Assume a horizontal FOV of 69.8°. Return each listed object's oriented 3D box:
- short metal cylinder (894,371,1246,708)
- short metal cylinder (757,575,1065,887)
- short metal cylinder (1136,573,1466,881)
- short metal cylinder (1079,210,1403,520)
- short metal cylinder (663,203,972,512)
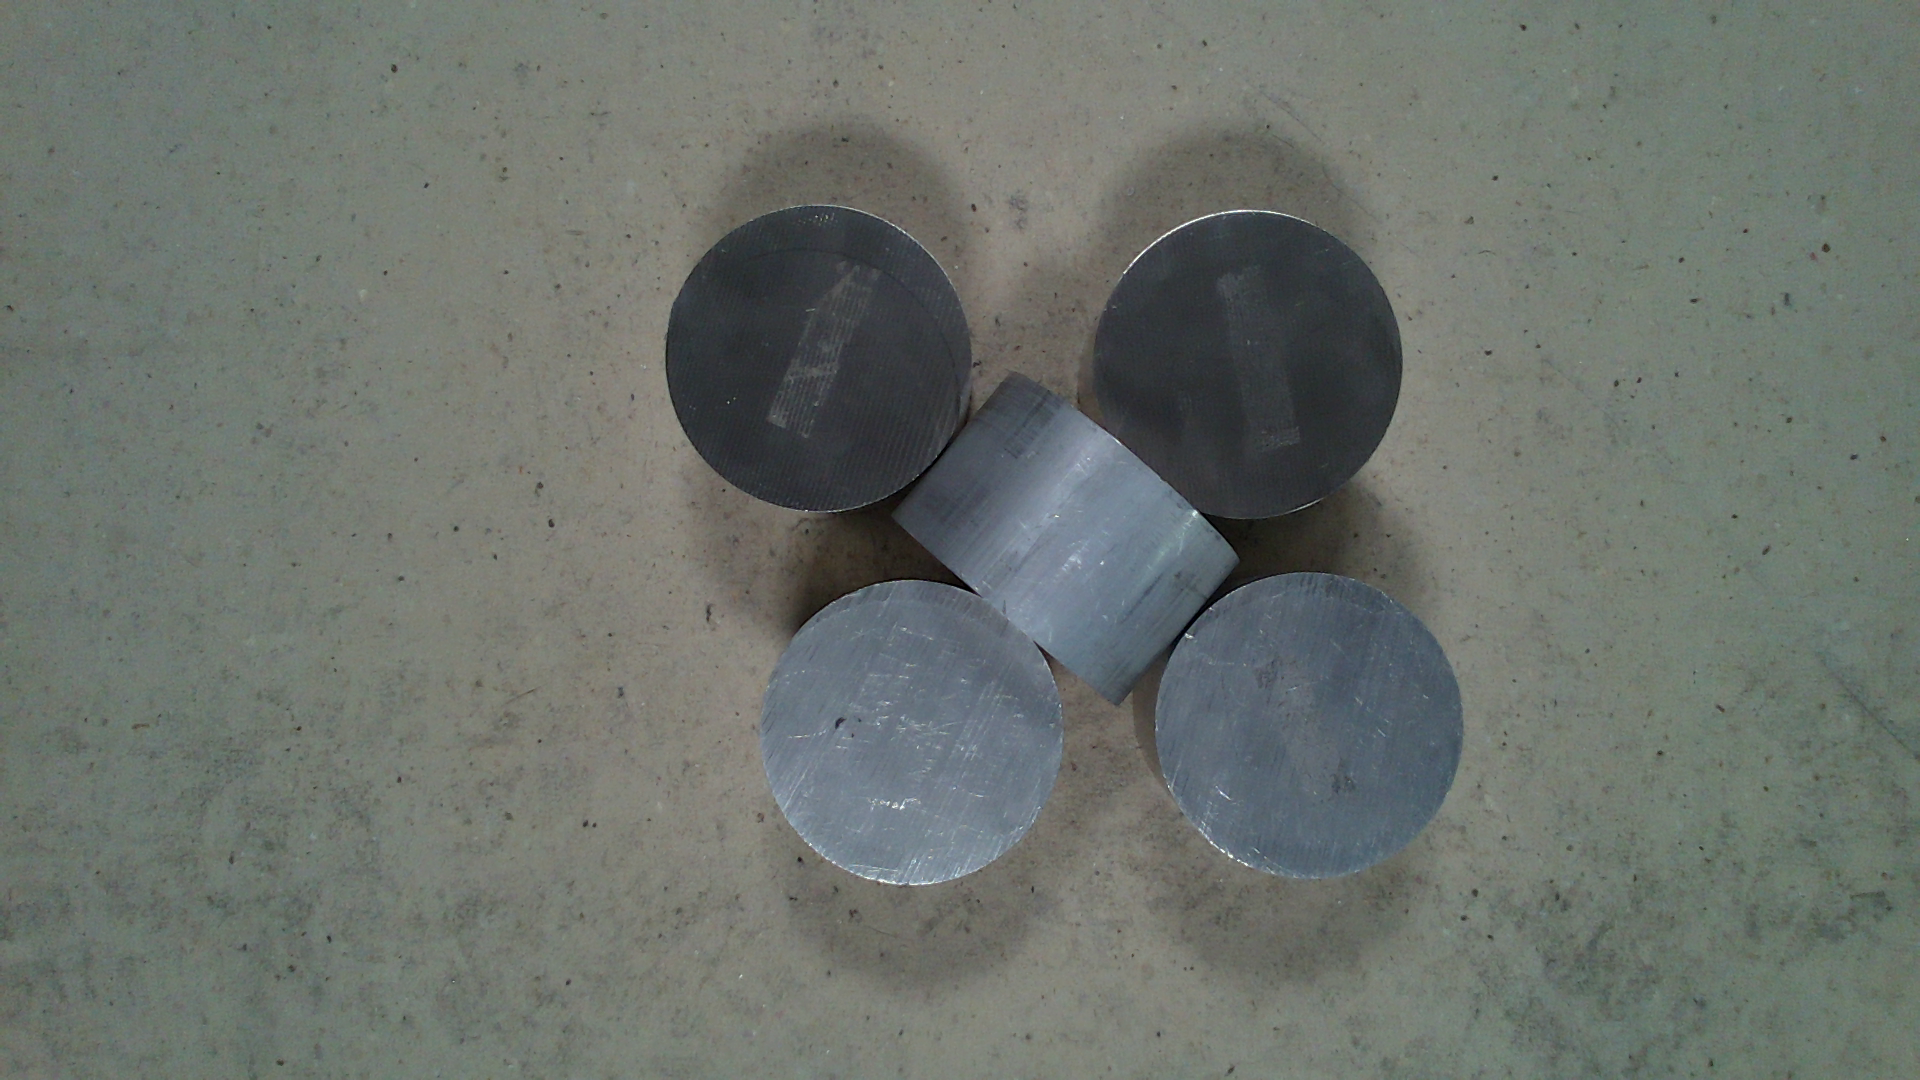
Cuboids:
[{"bbox_3d":[0.029,0.000,0.368,0.080,0.080,0.050,40,90,0],"label":"short metal cylinder"},{"bbox_3d":[-0.013,0.050,0.382,0.080,0.050,0.080,0,90,0],"label":"short metal cylinder"},{"bbox_3d":[0.092,0.049,0.382,0.080,0.050,0.080,0,90,0],"label":"short metal cylinder"},{"bbox_3d":[0.075,-0.045,0.381,0.080,0.050,0.080,0,90,0],"label":"short metal cylinder"},{"bbox_3d":[-0.037,-0.047,0.382,0.080,0.050,0.080,0,90,0],"label":"short metal cylinder"}]
